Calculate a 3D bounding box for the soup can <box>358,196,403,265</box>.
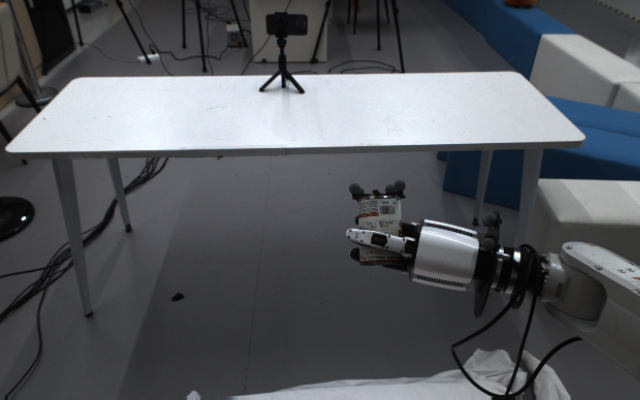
[{"bbox_3d":[0.093,0.048,0.739,0.067,0.101,0.067,-1,-9,0],"label":"soup can"}]
